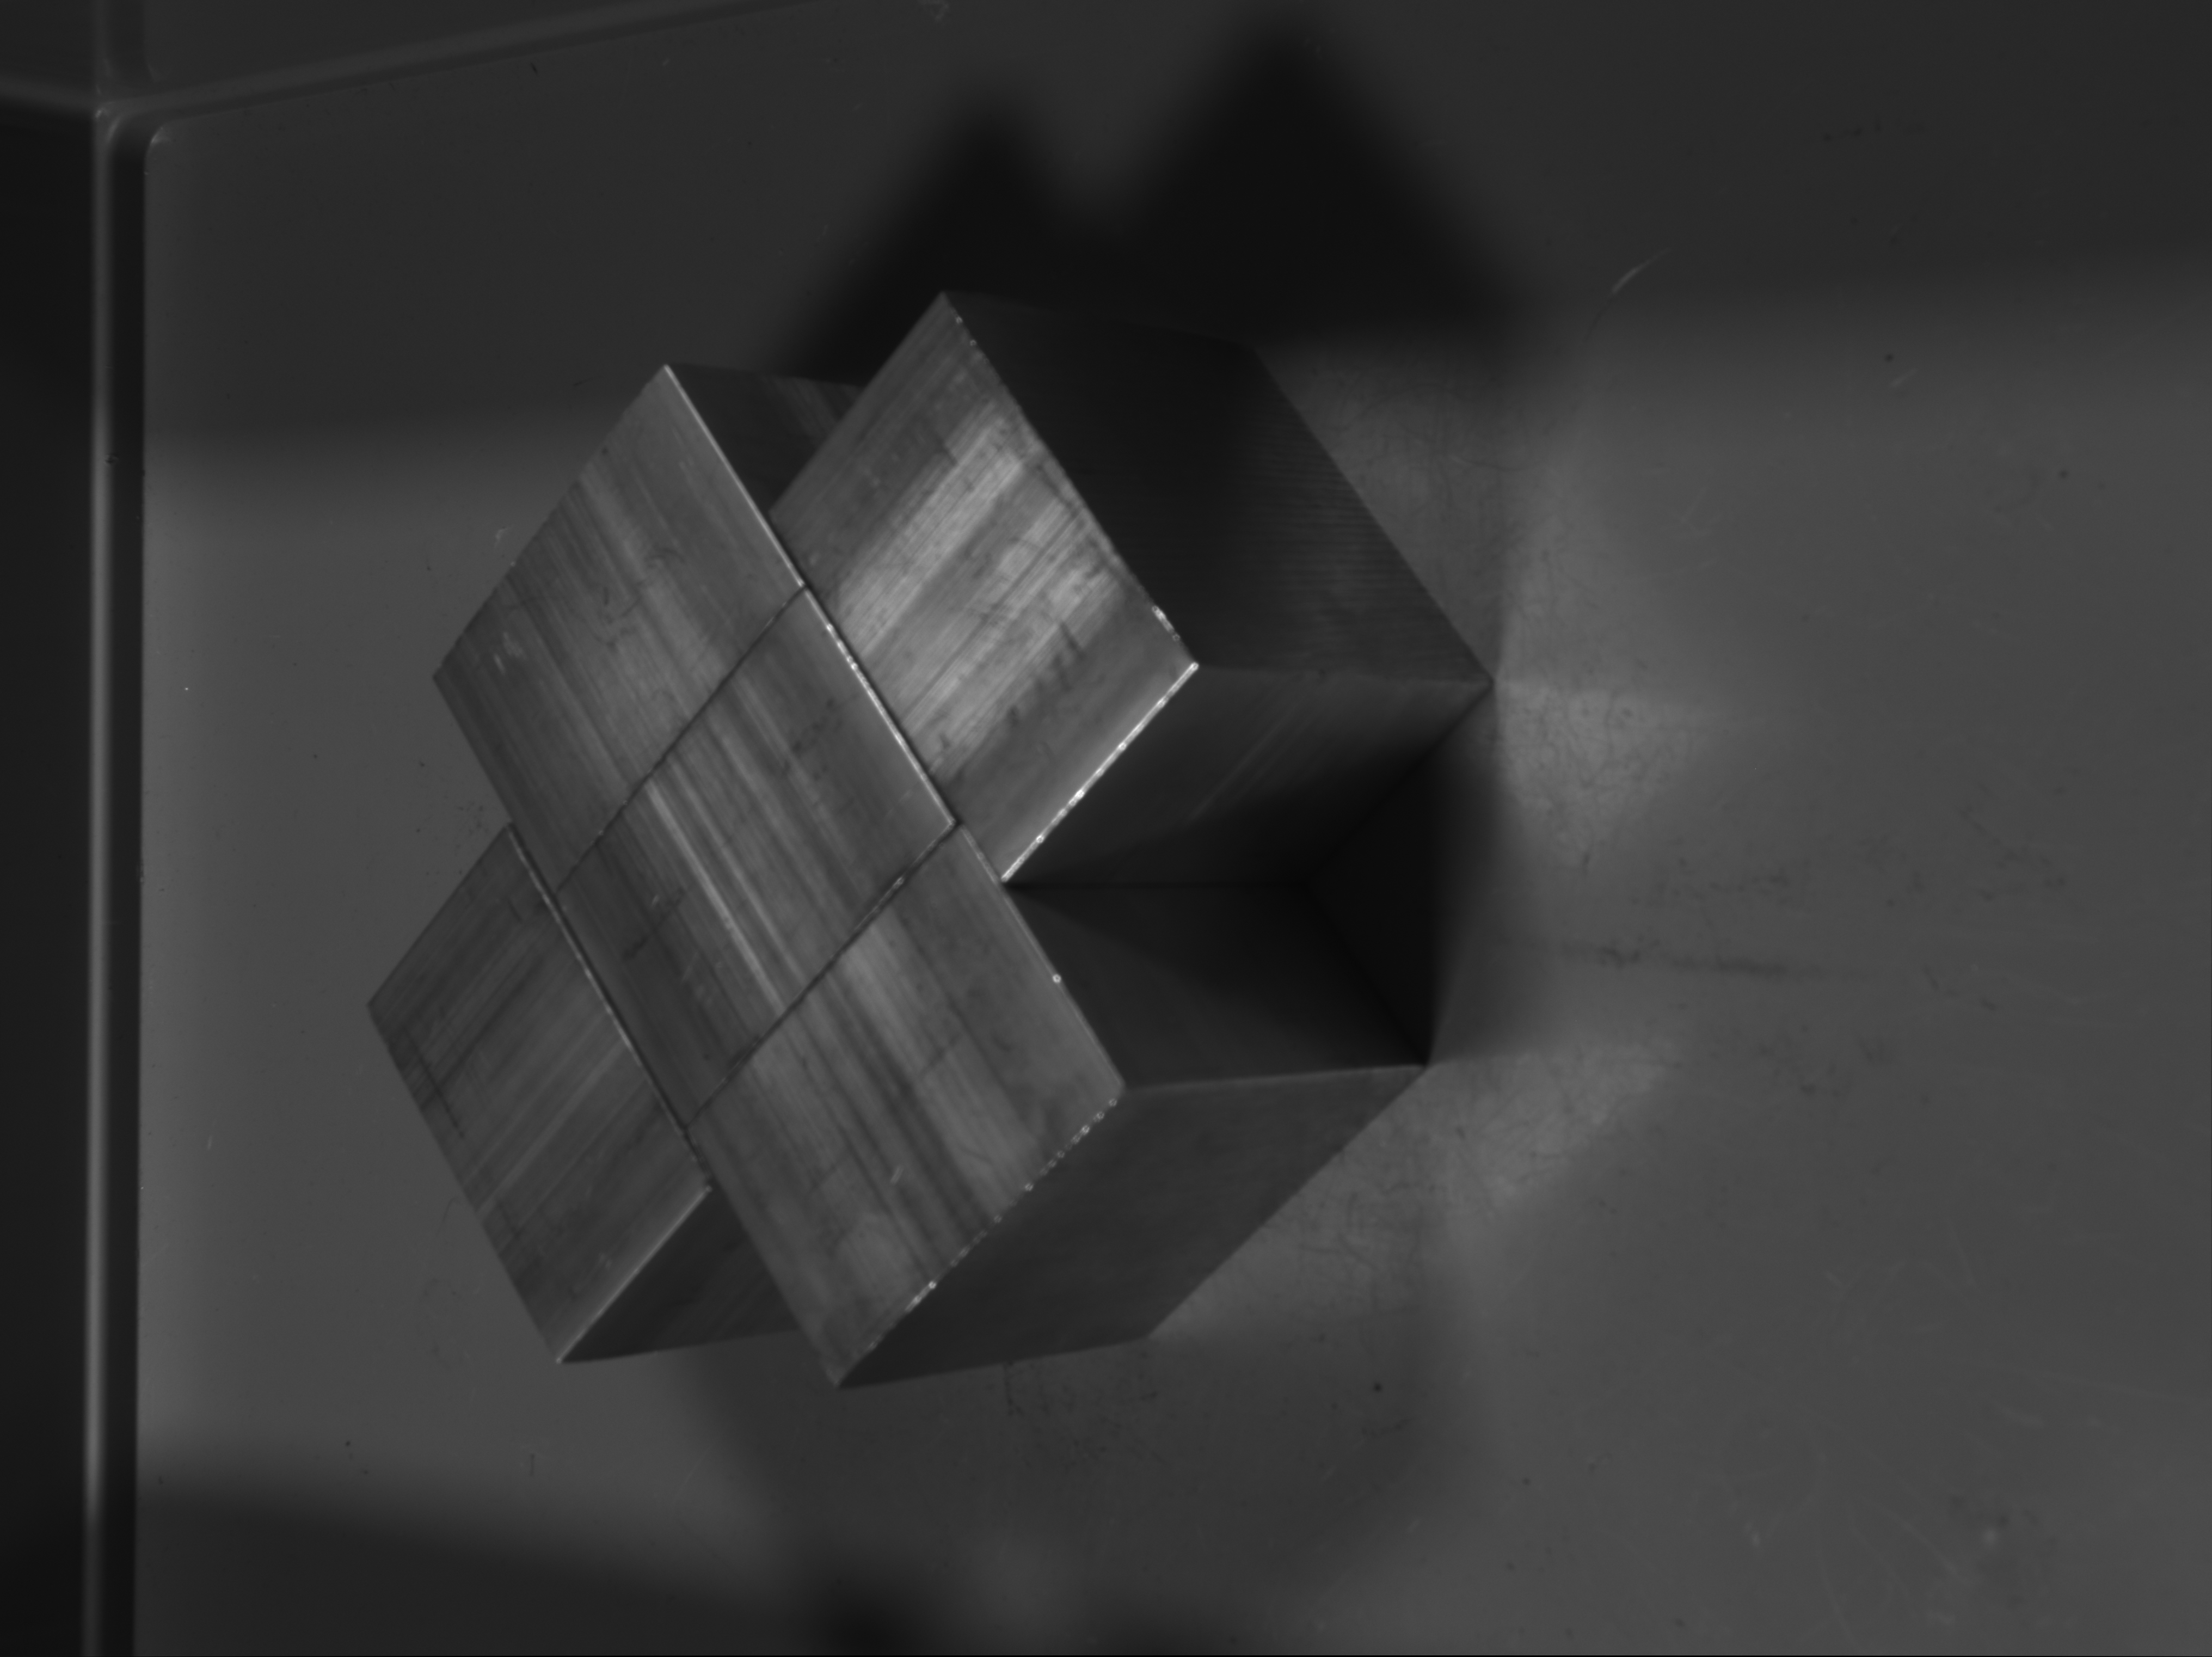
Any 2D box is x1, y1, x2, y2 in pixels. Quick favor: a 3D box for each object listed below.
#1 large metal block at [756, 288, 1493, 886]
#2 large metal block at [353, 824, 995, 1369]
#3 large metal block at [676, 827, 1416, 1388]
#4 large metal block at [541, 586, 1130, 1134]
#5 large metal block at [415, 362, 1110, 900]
[{"bbox_3d":[0.003,-0.038,0.598,0.050,0.080,0.080,-48,62,29],"label":"large metal block"},{"bbox_3d":[-0.075,0.046,0.662,0.050,0.080,0.080,-48,62,29],"label":"large metal block"},{"bbox_3d":[-0.010,0.045,0.609,0.080,0.080,0.050,-48,62,29],"label":"large metal block"},{"bbox_3d":[-0.035,0.006,0.629,0.080,0.080,0.050,-48,62,29],"label":"large metal block"},{"bbox_3d":[-0.061,-0.033,0.649,0.080,0.080,0.050,-48,62,29],"label":"large metal block"}]
